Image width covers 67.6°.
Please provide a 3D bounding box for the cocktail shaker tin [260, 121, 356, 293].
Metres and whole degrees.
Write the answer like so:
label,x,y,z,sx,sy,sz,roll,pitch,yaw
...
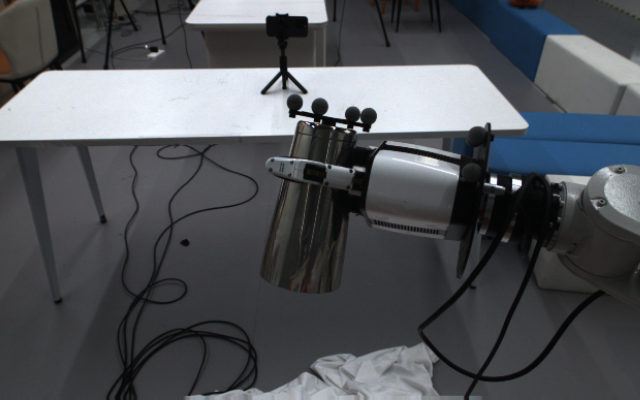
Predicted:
label,x,y,z,sx,sy,sz,roll,pitch,yaw
cocktail shaker tin,-0.003,0.003,0.529,0.093,0.170,0.093,10,9,-2
